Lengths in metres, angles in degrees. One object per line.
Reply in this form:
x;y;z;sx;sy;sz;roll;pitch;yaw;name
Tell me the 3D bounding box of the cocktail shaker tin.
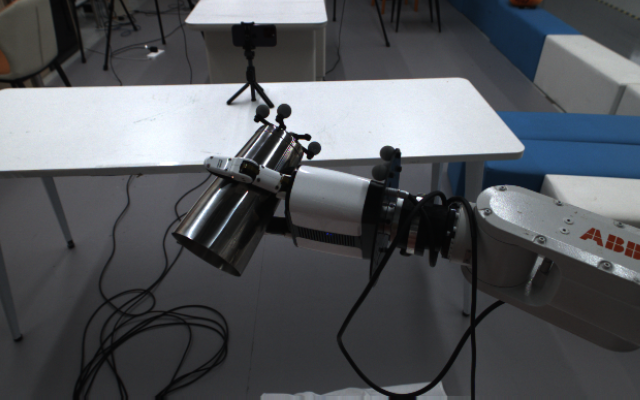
-0.087;-0.008;0.579;0.093;0.093;0.170;20;67;24;cocktail shaker tin
